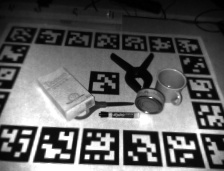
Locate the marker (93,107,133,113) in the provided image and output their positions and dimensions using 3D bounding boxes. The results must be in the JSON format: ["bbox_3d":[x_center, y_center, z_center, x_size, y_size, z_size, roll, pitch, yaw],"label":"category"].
[{"bbox_3d":[0.004,0.074,0.655,0.121,0.020,0.019,0,52,-6],"label":"marker"}]

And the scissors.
[{"bbox_3d":[-0.041,0.038,0.675,0.204,0.016,0.087,-5,48,-12],"label":"scissors"}]

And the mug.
[{"bbox_3d":[0.168,-0.004,0.698,0.094,0.082,0.116,-19,52,-20],"label":"mug"}]

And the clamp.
[{"bbox_3d":[0.078,-0.061,0.771,0.166,0.037,0.201,-5,53,-10],"label":"clamp"}]

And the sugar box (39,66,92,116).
[{"bbox_3d":[-0.146,0.004,0.670,0.093,0.045,0.174,-28,53,-25],"label":"sugar box"}]

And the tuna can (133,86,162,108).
[{"bbox_3d":[0.108,0.032,0.657,0.085,0.086,0.034,16,52,8],"label":"tuna can"}]
